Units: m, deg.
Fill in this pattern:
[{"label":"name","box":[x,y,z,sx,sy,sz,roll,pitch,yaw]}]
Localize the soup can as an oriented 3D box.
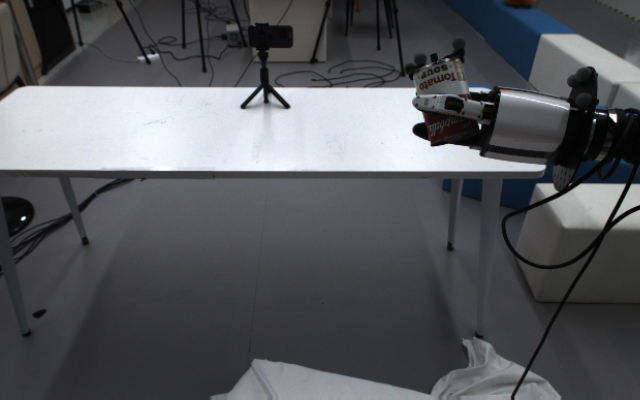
[{"label":"soup can","box":[0.170,-0.132,0.656,0.067,0.101,0.067,-14,-2,-1]}]
